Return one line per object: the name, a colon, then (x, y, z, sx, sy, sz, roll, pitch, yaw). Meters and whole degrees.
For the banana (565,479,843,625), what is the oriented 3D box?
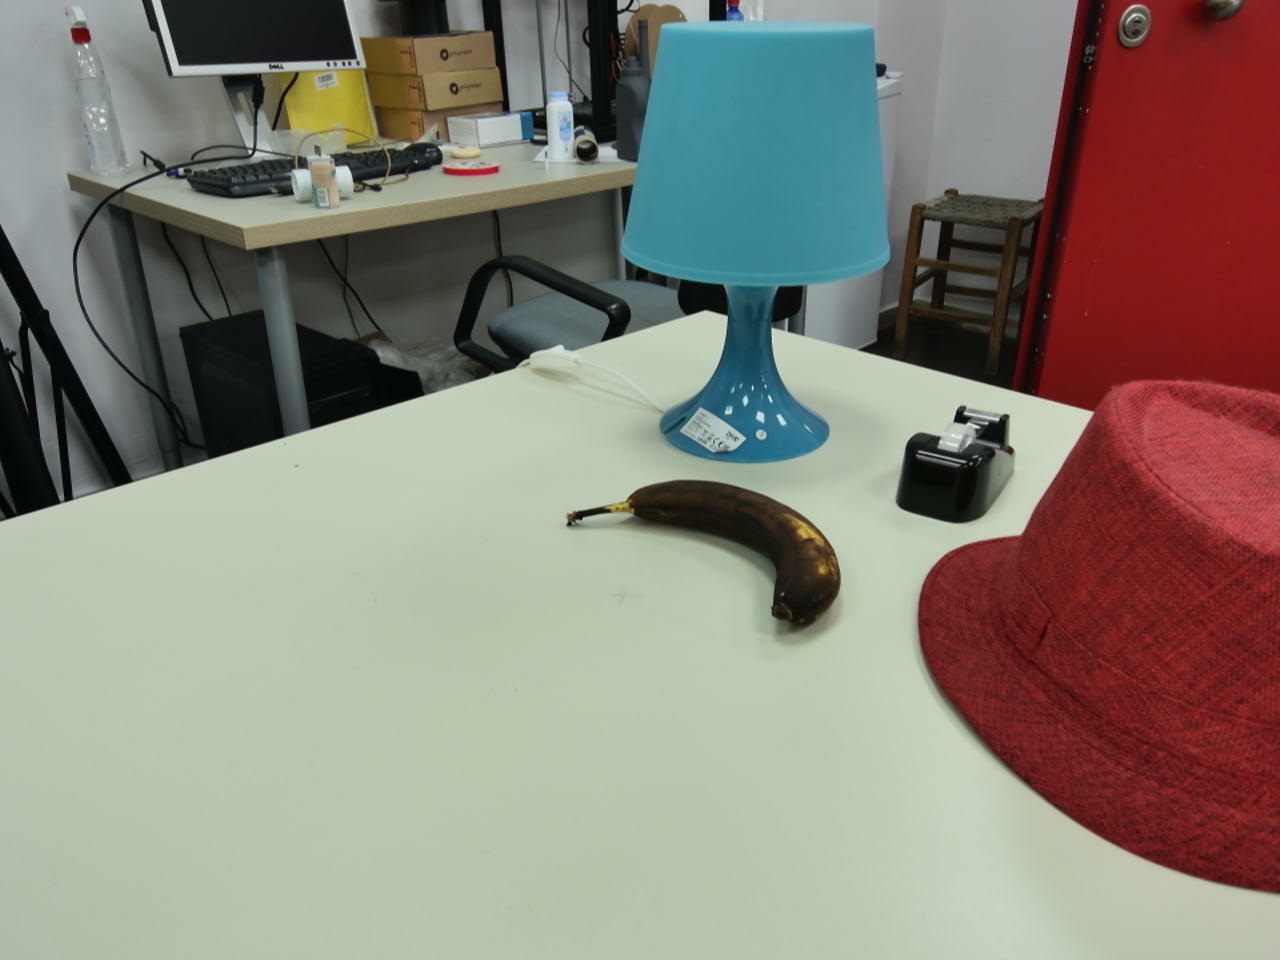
banana: (0.050, 0.030, 0.601, 0.091, 0.034, 0.188, -20, 31, -37)
